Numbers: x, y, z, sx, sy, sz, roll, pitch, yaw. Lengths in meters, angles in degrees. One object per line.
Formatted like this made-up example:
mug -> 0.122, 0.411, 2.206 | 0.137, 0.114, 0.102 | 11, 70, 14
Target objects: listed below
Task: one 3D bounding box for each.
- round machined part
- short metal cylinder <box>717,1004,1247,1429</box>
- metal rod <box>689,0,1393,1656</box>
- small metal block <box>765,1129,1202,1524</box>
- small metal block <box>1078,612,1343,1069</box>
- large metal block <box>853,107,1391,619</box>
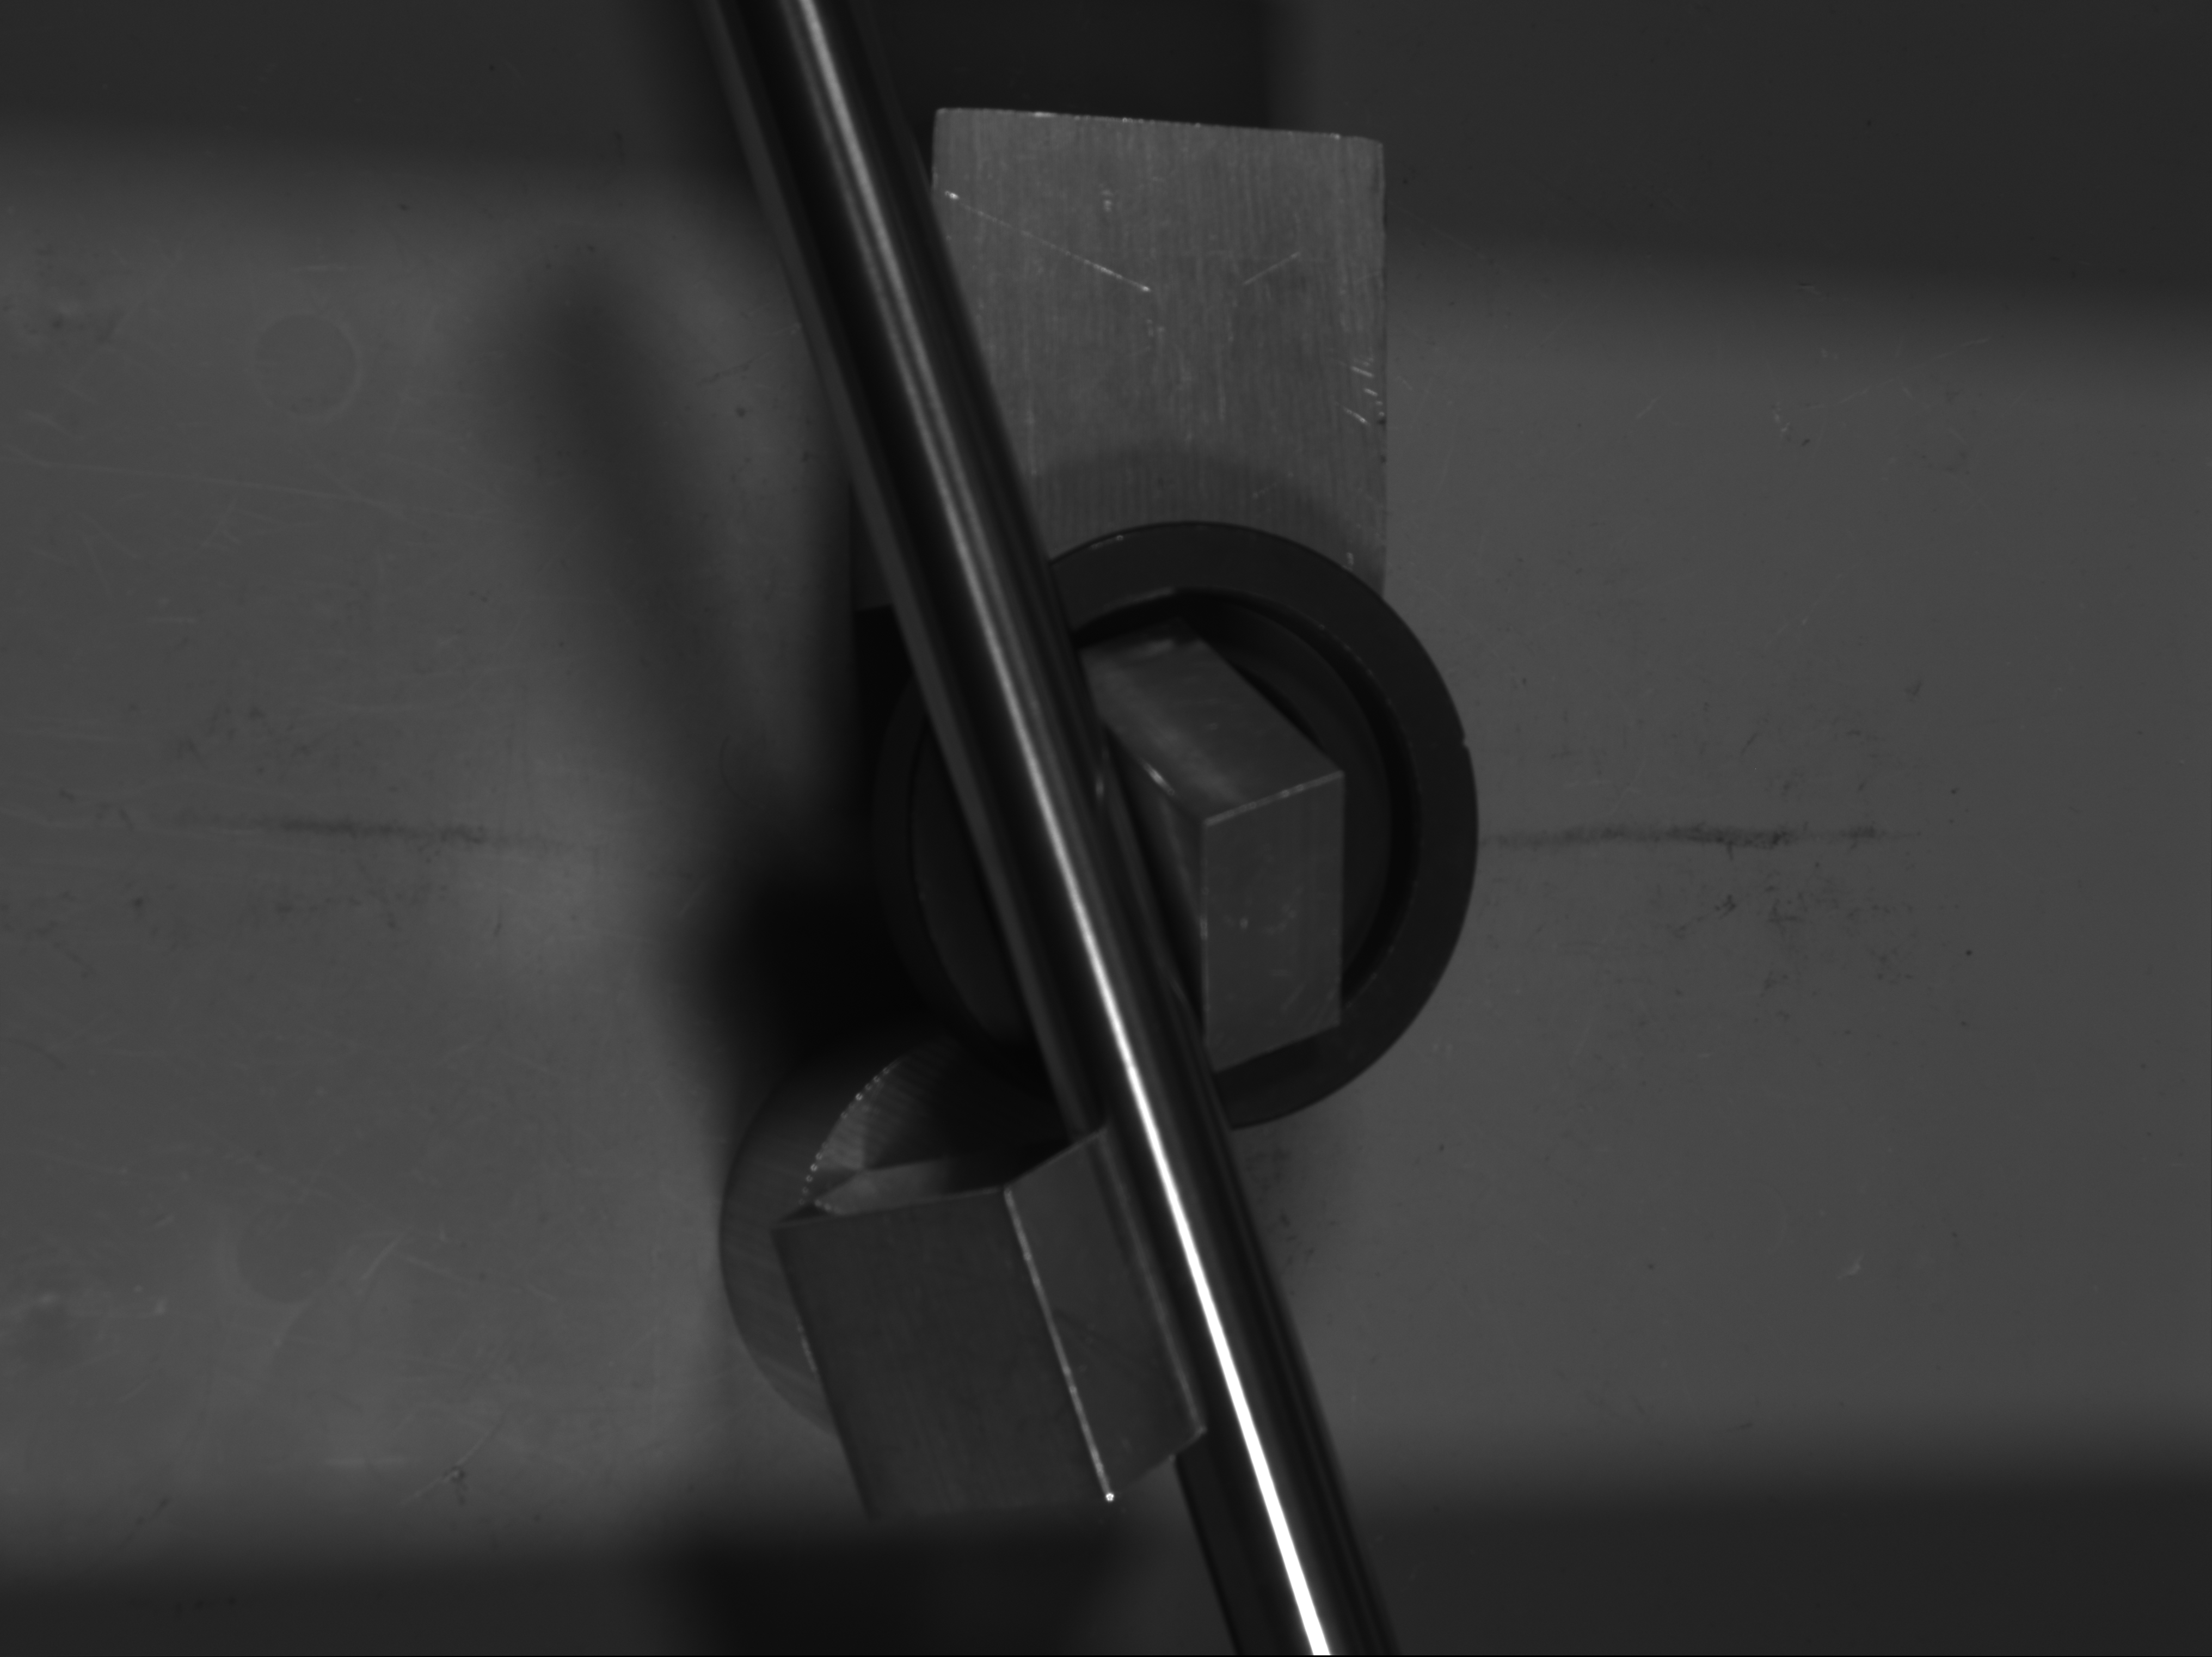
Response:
round machined part -> 0.009, -0.001, 0.605 | 0.098, 0.042, 0.098 | 0, 90, -20
short metal cylinder -> -0.021, 0.071, 0.622 | 0.080, 0.050, 0.080 | 0, 90, -20
metal rod -> -0.011, -0.003, 0.564 | 0.025, 0.025, 0.300 | -20, 97, -19
small metal block -> -0.019, 0.077, 0.567 | 0.025, 0.050, 0.050 | -25, 99, -52
small metal block -> 0.013, 0.002, 0.583 | 0.025, 0.050, 0.050 | -20, 131, -22
large metal block -> 0.002, -0.076, 0.628 | 0.080, 0.050, 0.080 | 0, 90, -20
